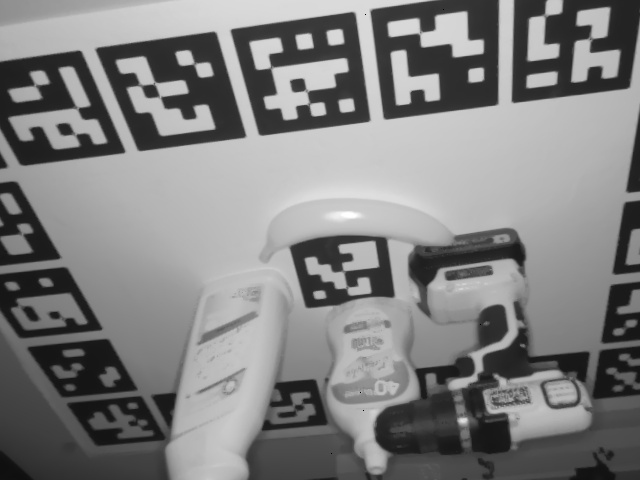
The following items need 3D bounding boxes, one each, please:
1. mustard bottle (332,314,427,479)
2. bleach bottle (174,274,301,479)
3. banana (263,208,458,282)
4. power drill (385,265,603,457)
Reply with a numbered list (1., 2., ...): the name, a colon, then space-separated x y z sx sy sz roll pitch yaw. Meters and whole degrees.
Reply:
1. mustard bottle: 0.060 0.160 0.707 0.096 0.193 0.058 -5 127 7
2. bleach bottle: -0.077 0.140 0.669 0.102 0.253 0.067 -12 124 11
3. banana: 0.037 0.002 0.685 0.197 0.039 0.073 -4 122 2
4. power drill: 0.151 0.112 0.648 0.184 0.189 0.057 -7 133 10
